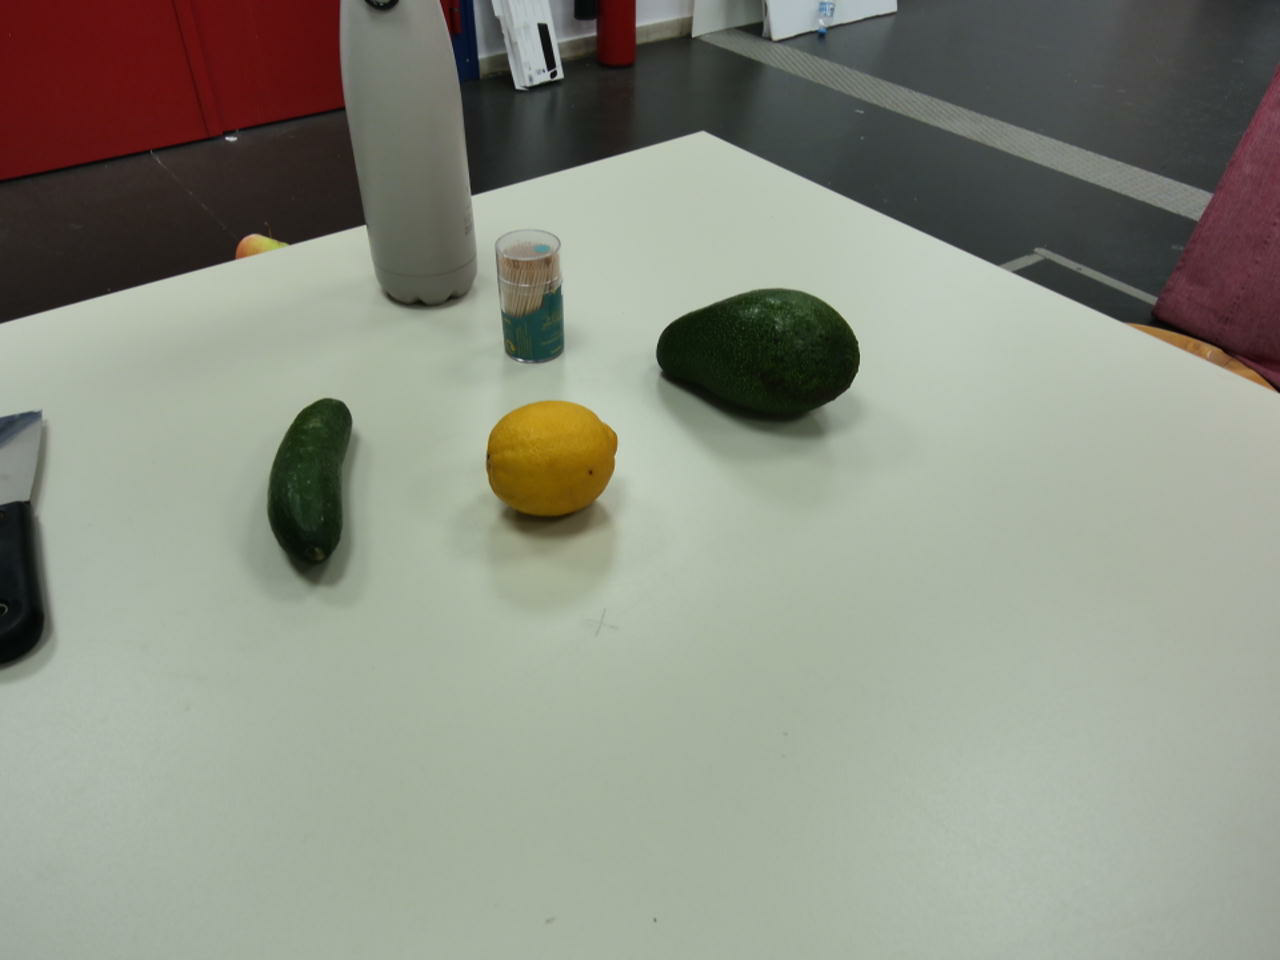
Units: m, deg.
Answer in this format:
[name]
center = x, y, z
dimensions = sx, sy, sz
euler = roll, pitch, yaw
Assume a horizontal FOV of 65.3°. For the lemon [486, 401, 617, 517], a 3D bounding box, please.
[lemon]
center = -0.046, -0.011, 0.516
dimensions = 0.067, 0.059, 0.060
euler = 3, 38, 3
